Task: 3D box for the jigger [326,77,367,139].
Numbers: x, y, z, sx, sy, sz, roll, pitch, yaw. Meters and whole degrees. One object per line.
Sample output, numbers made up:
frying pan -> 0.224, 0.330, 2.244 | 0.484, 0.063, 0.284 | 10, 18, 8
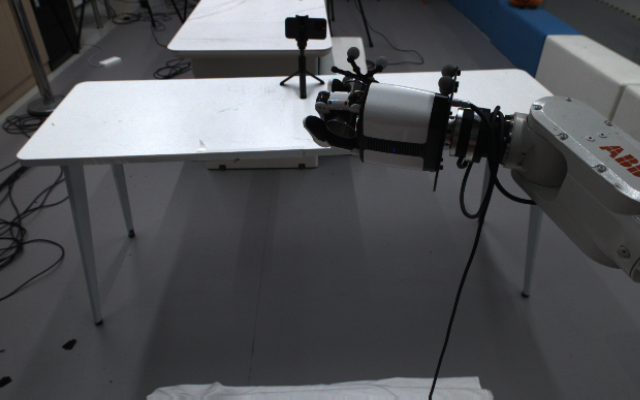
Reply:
jigger -> 0.039, -0.126, 0.654 | 0.043, 0.043, 0.071 | 16, 70, 19
